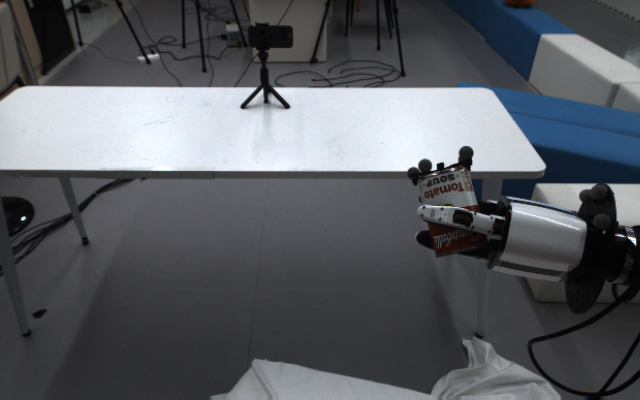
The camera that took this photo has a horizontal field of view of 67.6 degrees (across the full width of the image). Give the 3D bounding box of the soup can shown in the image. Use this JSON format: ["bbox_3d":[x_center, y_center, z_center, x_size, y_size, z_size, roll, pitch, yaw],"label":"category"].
[{"bbox_3d":[0.170,0.016,0.617,0.067,0.067,0.101,-10,80,-16],"label":"soup can"}]
